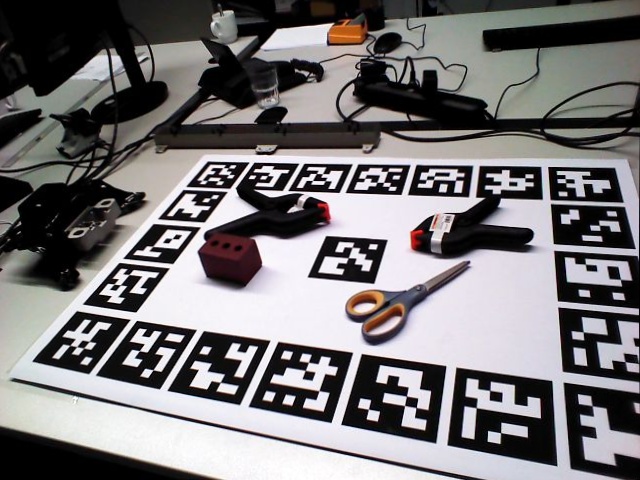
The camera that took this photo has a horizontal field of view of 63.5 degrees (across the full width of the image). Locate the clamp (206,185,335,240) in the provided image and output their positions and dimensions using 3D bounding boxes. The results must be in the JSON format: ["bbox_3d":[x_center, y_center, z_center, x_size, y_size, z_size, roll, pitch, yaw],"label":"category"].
[{"bbox_3d":[-0.075,-0.048,0.889,0.204,0.037,0.164,1,37,14],"label":"clamp"}]

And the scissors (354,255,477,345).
[{"bbox_3d":[0.139,0.066,0.701,0.202,0.016,0.088,-29,49,-23],"label":"scissors"}]

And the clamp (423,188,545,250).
[{"bbox_3d":[0.235,-0.025,0.785,0.165,0.037,0.121,-15,45,-4],"label":"clamp"}]

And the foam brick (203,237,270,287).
[{"bbox_3d":[-0.127,0.033,0.792,0.078,0.051,0.052,5,42,27],"label":"foam brick"}]
